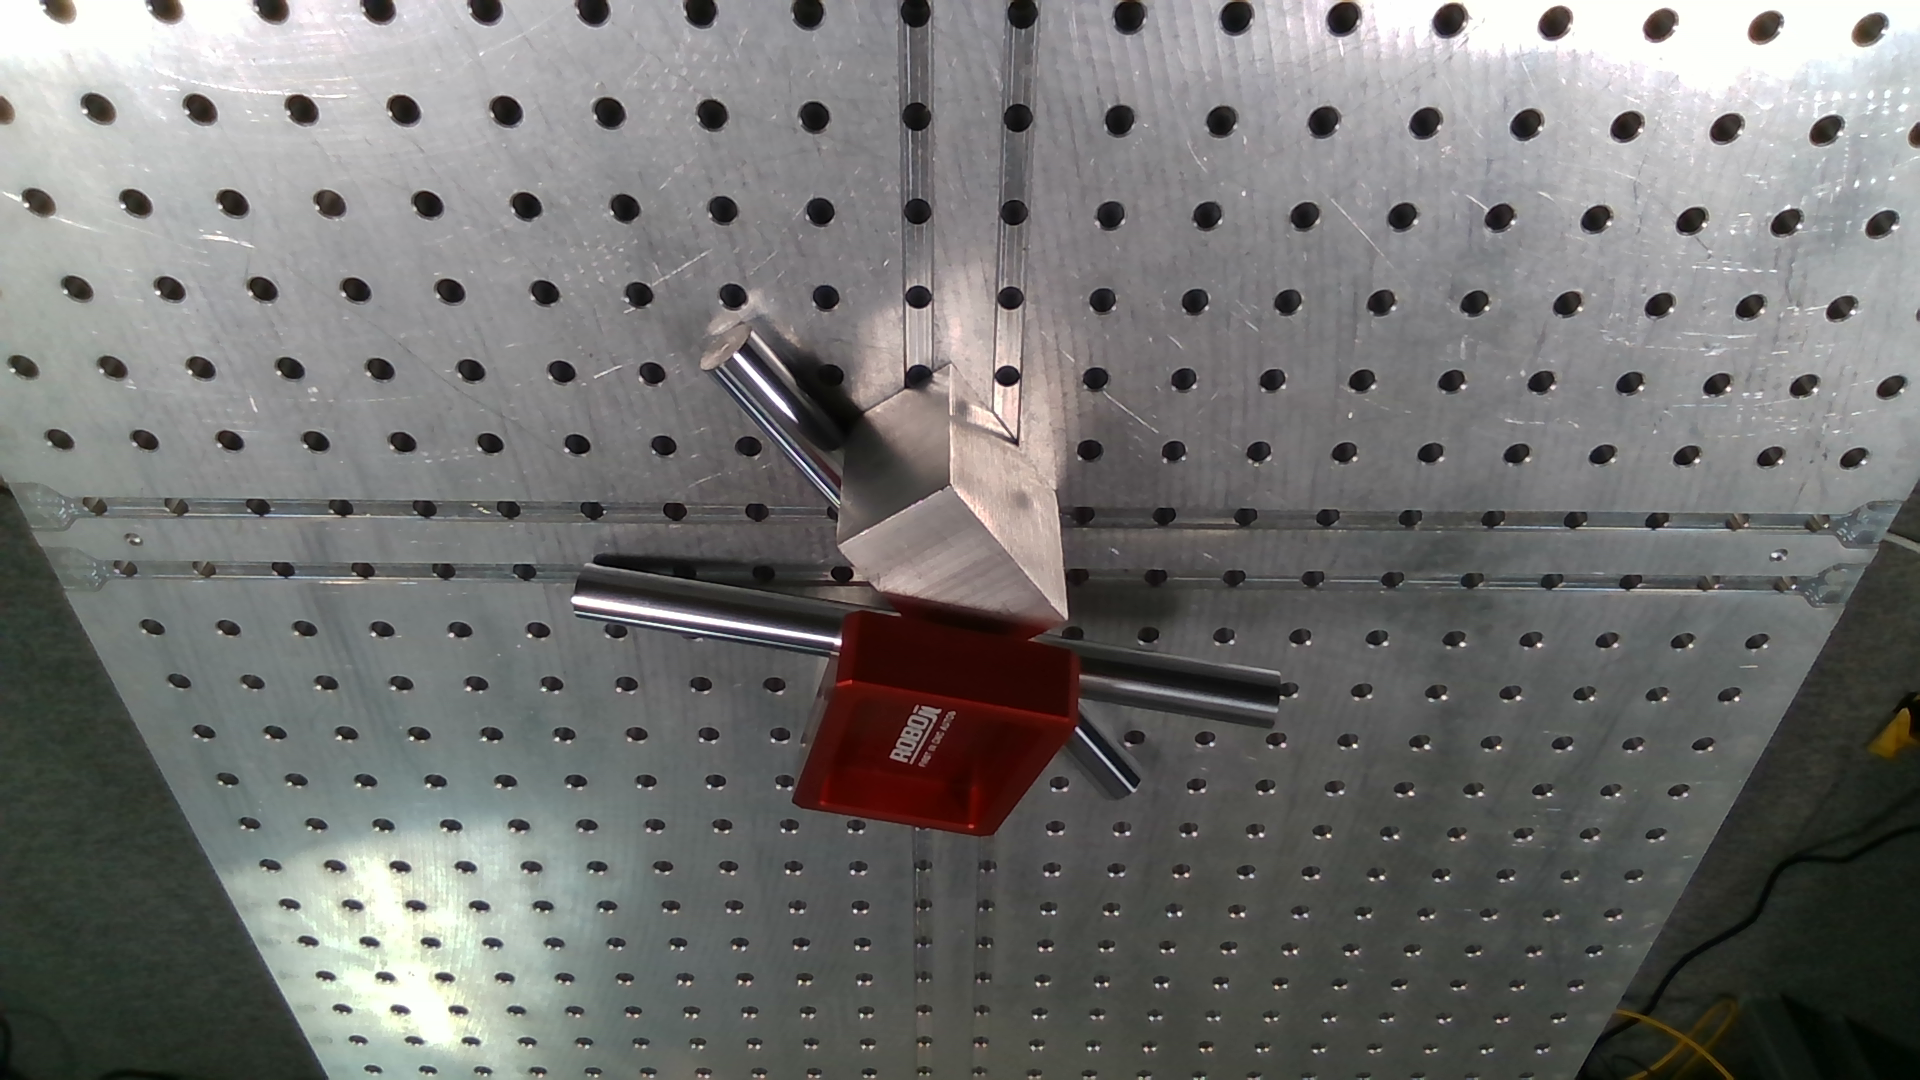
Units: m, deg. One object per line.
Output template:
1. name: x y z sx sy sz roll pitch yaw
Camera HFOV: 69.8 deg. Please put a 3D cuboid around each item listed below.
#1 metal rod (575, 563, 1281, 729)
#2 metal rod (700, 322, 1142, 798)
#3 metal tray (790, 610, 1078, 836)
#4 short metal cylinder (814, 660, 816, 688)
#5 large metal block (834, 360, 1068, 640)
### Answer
1. metal rod: -0.016 0.044 0.590 0.300 0.025 0.025 9 130 5
2. metal rod: -0.005 0.022 0.601 0.025 0.025 0.301 -27 125 21
3. metal tray: -0.014 0.078 0.553 0.090 0.030 0.130 11 147 -9
4. short metal cylinder: -0.029 0.078 0.630 0.080 0.050 0.080 0 130 0
5. large metal block: -0.002 -0.009 0.538 0.050 0.080 0.080 -27 125 21
